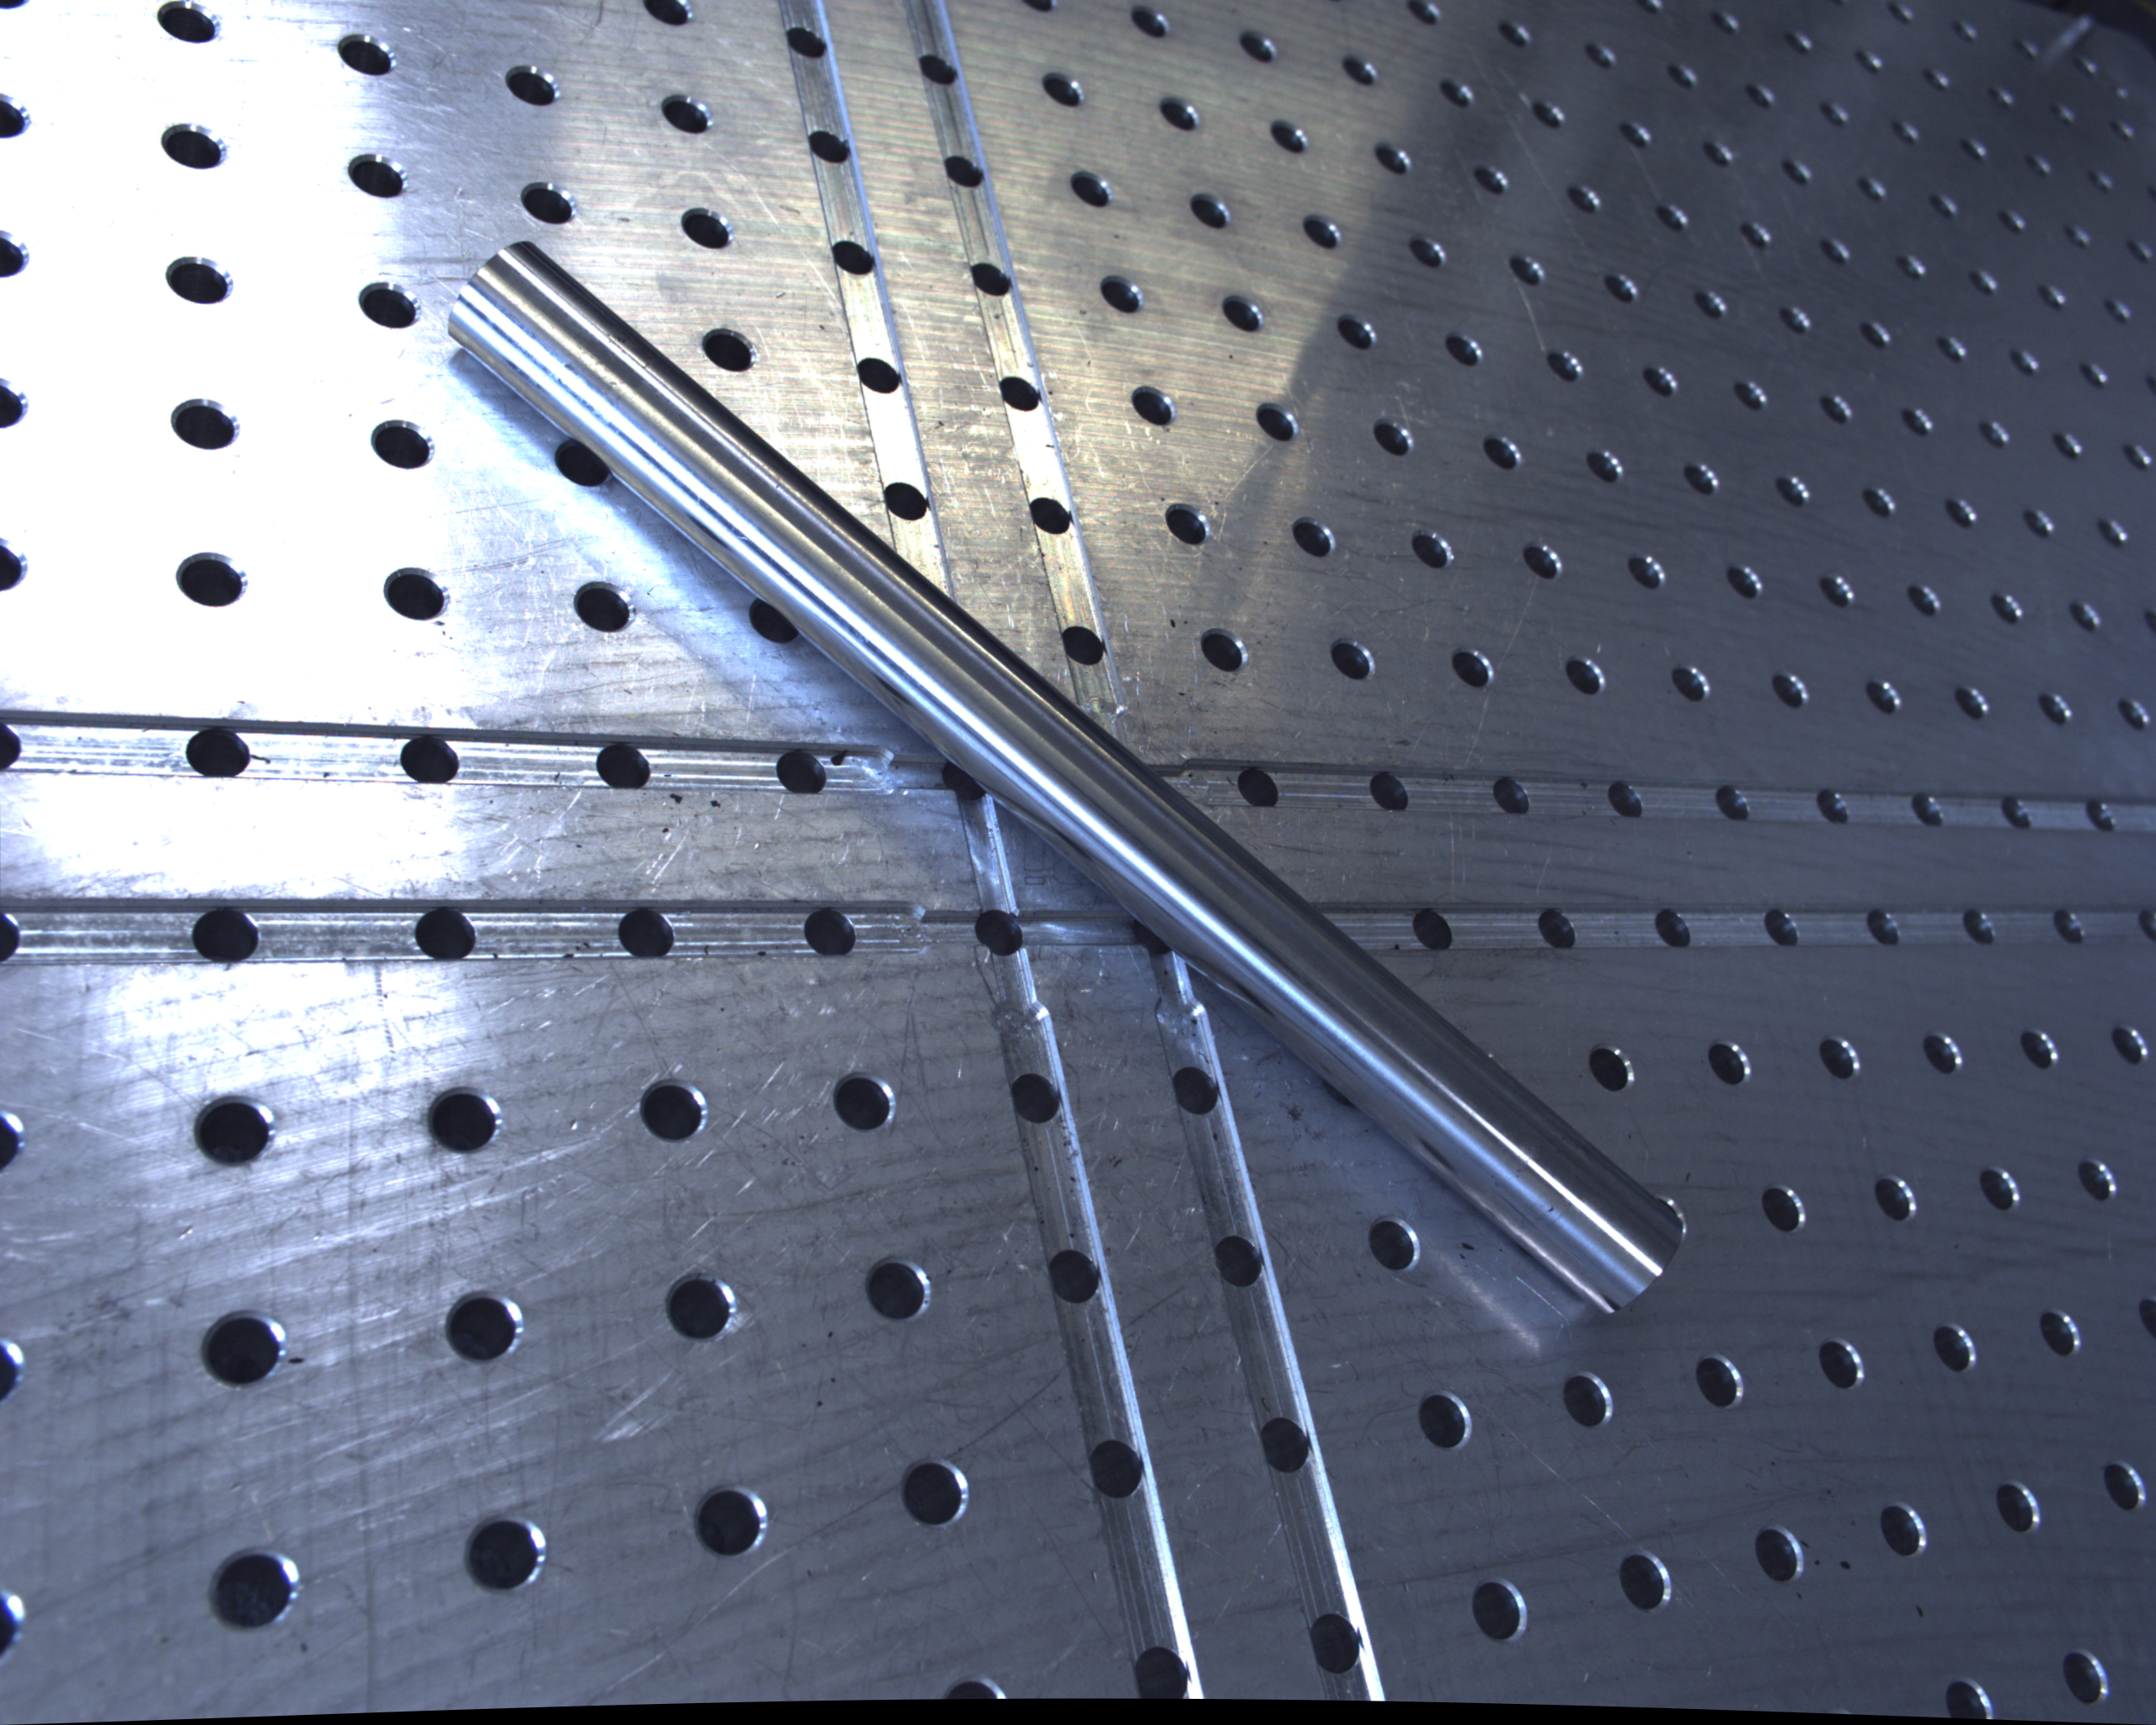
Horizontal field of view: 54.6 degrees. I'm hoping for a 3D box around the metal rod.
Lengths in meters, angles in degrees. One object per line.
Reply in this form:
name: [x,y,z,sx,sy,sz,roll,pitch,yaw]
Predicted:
metal rod: [-0.002,-0.016,0.417,0.300,0.025,0.025,40,51,-1]
